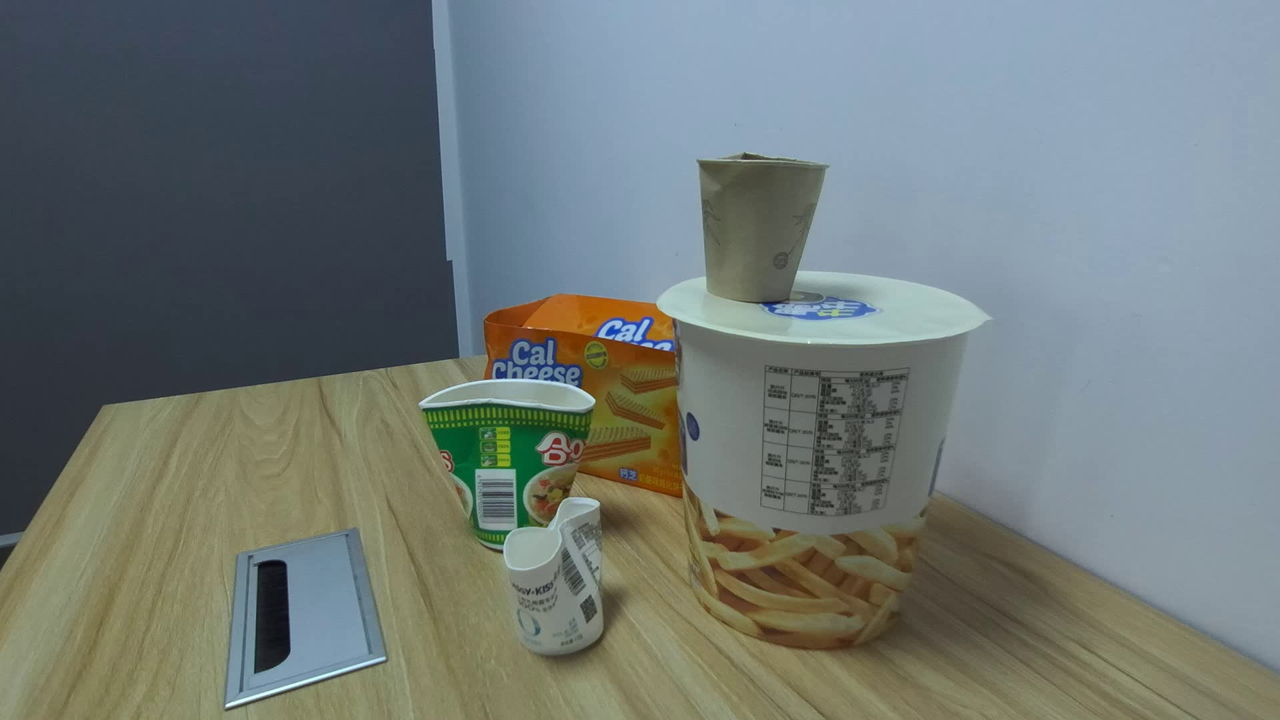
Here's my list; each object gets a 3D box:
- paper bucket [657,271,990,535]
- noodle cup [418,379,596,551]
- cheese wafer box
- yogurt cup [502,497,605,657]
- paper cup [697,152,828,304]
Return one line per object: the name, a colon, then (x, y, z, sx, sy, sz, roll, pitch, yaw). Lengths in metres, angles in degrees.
paper bucket: (0.104, 0.055, 0.453, 0.198, 0.194, 0.198, 0, 19, 0)
noodle cup: (-0.092, 0.075, 0.524, 0.114, 0.111, 0.070, 9, 24, 26)
cheese wafer box: (-0.027, 0.022, 0.674, 0.229, 0.132, 0.153, 9, 21, 26)
yogurt cup: (-0.049, 0.130, 0.421, 0.054, 0.071, 0.075, 0, 19, -2)
paper cup: (0.071, -0.081, 0.431, 0.071, 0.084, 0.066, 15, 23, 31)
